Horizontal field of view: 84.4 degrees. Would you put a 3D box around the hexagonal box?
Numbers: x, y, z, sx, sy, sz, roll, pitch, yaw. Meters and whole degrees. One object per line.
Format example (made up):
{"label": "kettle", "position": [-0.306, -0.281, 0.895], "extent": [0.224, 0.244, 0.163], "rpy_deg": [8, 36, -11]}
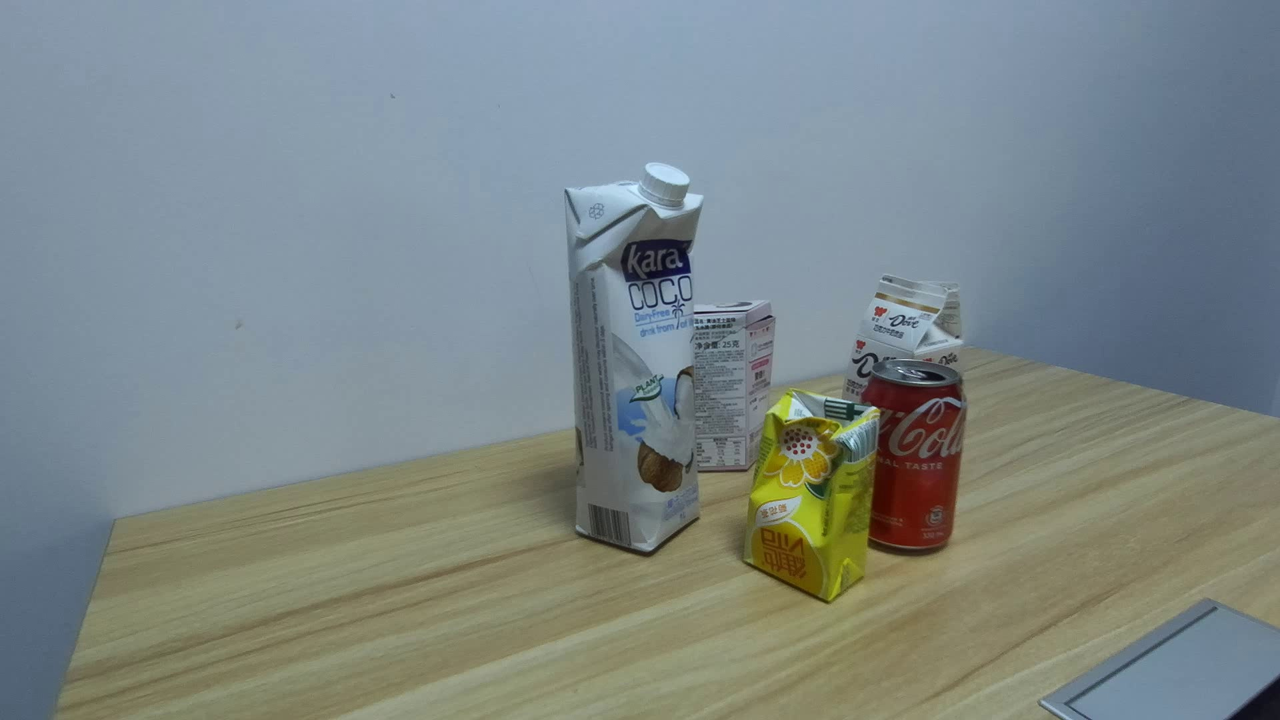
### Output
{"label": "hexagonal box", "position": [0.064, 0.018, 0.596], "extent": [0.084, 0.135, 0.092], "rpy_deg": [8, 18, 28]}

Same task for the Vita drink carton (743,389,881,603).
{"label": "Vita drink carton", "position": [0.100, 0.078, 0.424], "extent": [0.047, 0.109, 0.071], "rpy_deg": [-12, 18, -42]}

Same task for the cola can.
{"label": "cola can", "position": [0.177, 0.062, 0.469], "extent": [0.068, 0.120, 0.068], "rpy_deg": [0, 16, 0]}

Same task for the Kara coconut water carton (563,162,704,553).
{"label": "Kara coconut water carton", "position": [0.000, -0.002, 0.468], "extent": [0.071, 0.244, 0.100], "rpy_deg": [9, 19, 33]}
